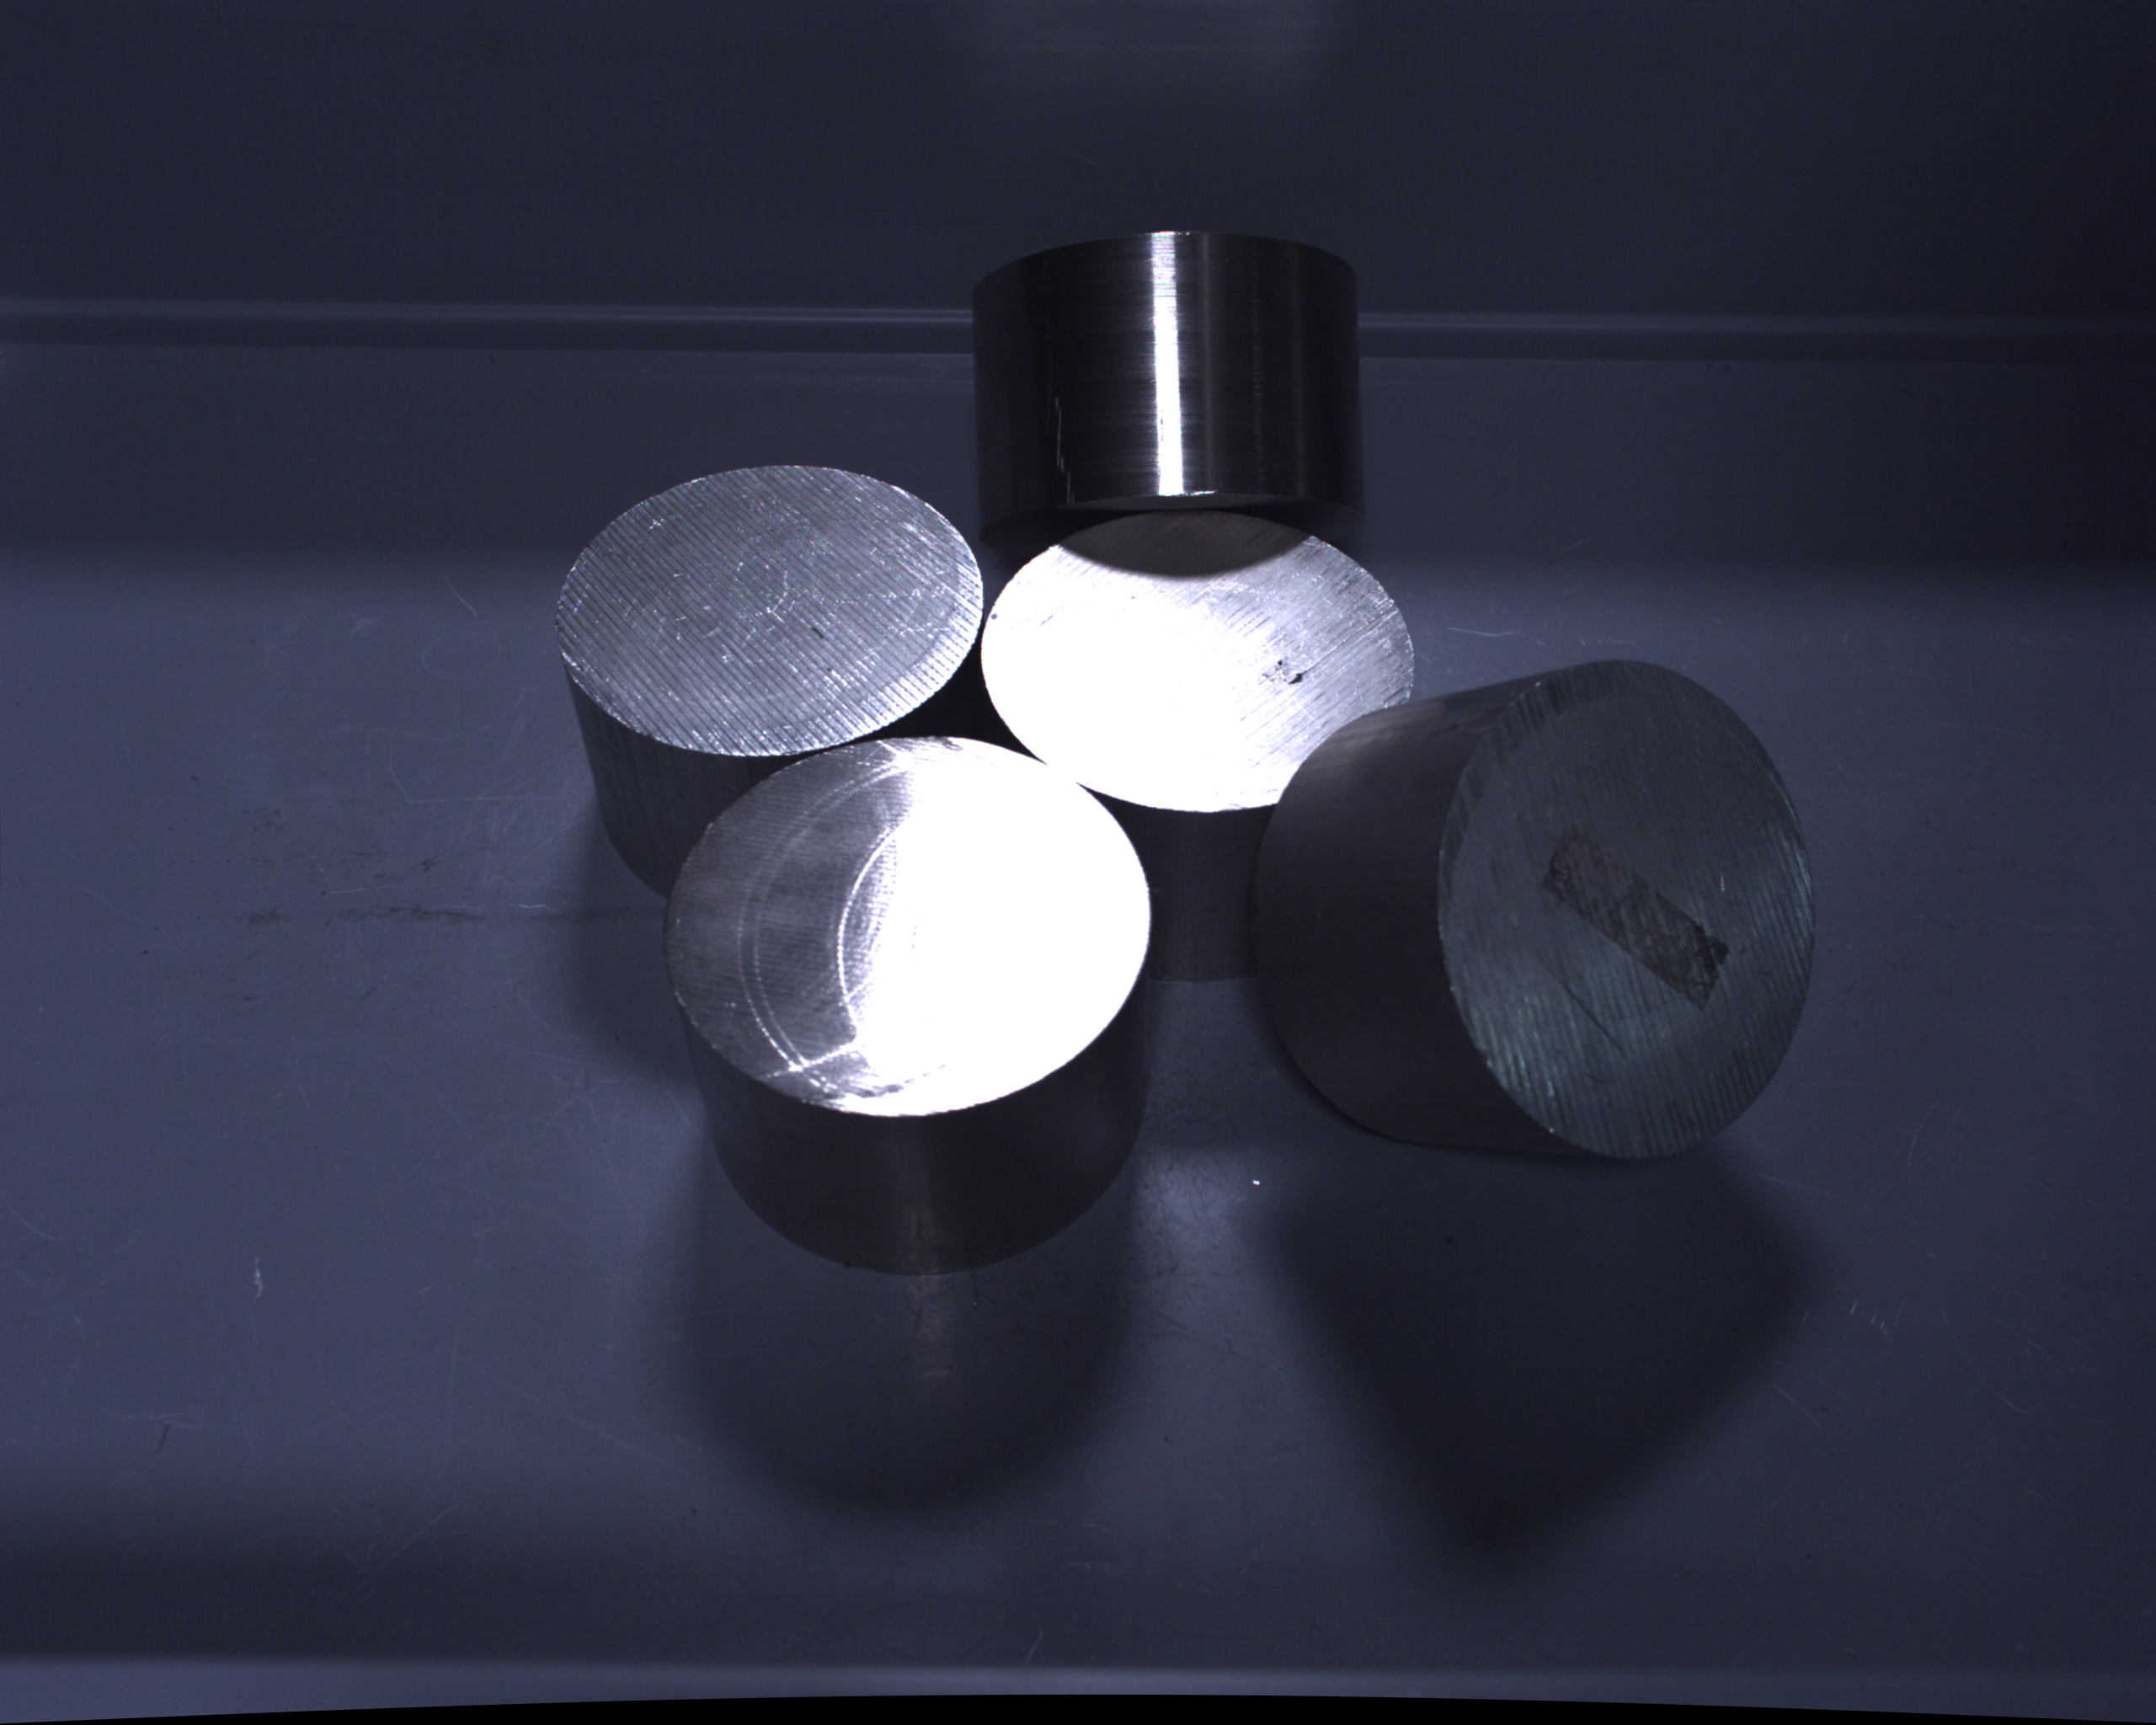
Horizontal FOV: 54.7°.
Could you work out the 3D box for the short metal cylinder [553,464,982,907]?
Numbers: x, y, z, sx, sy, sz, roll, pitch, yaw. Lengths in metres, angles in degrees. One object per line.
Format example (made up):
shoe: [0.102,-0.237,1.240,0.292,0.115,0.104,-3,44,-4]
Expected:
short metal cylinder: [-0.059,-0.034,0.414,0.081,0.050,0.080,0,50,0]

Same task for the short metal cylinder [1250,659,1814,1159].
short metal cylinder: [0.077,0.009,0.354,0.081,0.050,0.080,3,85,-29]

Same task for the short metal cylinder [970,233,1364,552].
short metal cylinder: [0.019,-0.095,0.438,0.081,0.080,0.050,-2,89,-2]

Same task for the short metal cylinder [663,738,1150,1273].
short metal cylinder: [-0.028,0.024,0.366,0.081,0.050,0.080,0,50,0]

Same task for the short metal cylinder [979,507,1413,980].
short metal cylinder: [0.022,-0.024,0.407,0.081,0.050,0.080,0,50,0]
